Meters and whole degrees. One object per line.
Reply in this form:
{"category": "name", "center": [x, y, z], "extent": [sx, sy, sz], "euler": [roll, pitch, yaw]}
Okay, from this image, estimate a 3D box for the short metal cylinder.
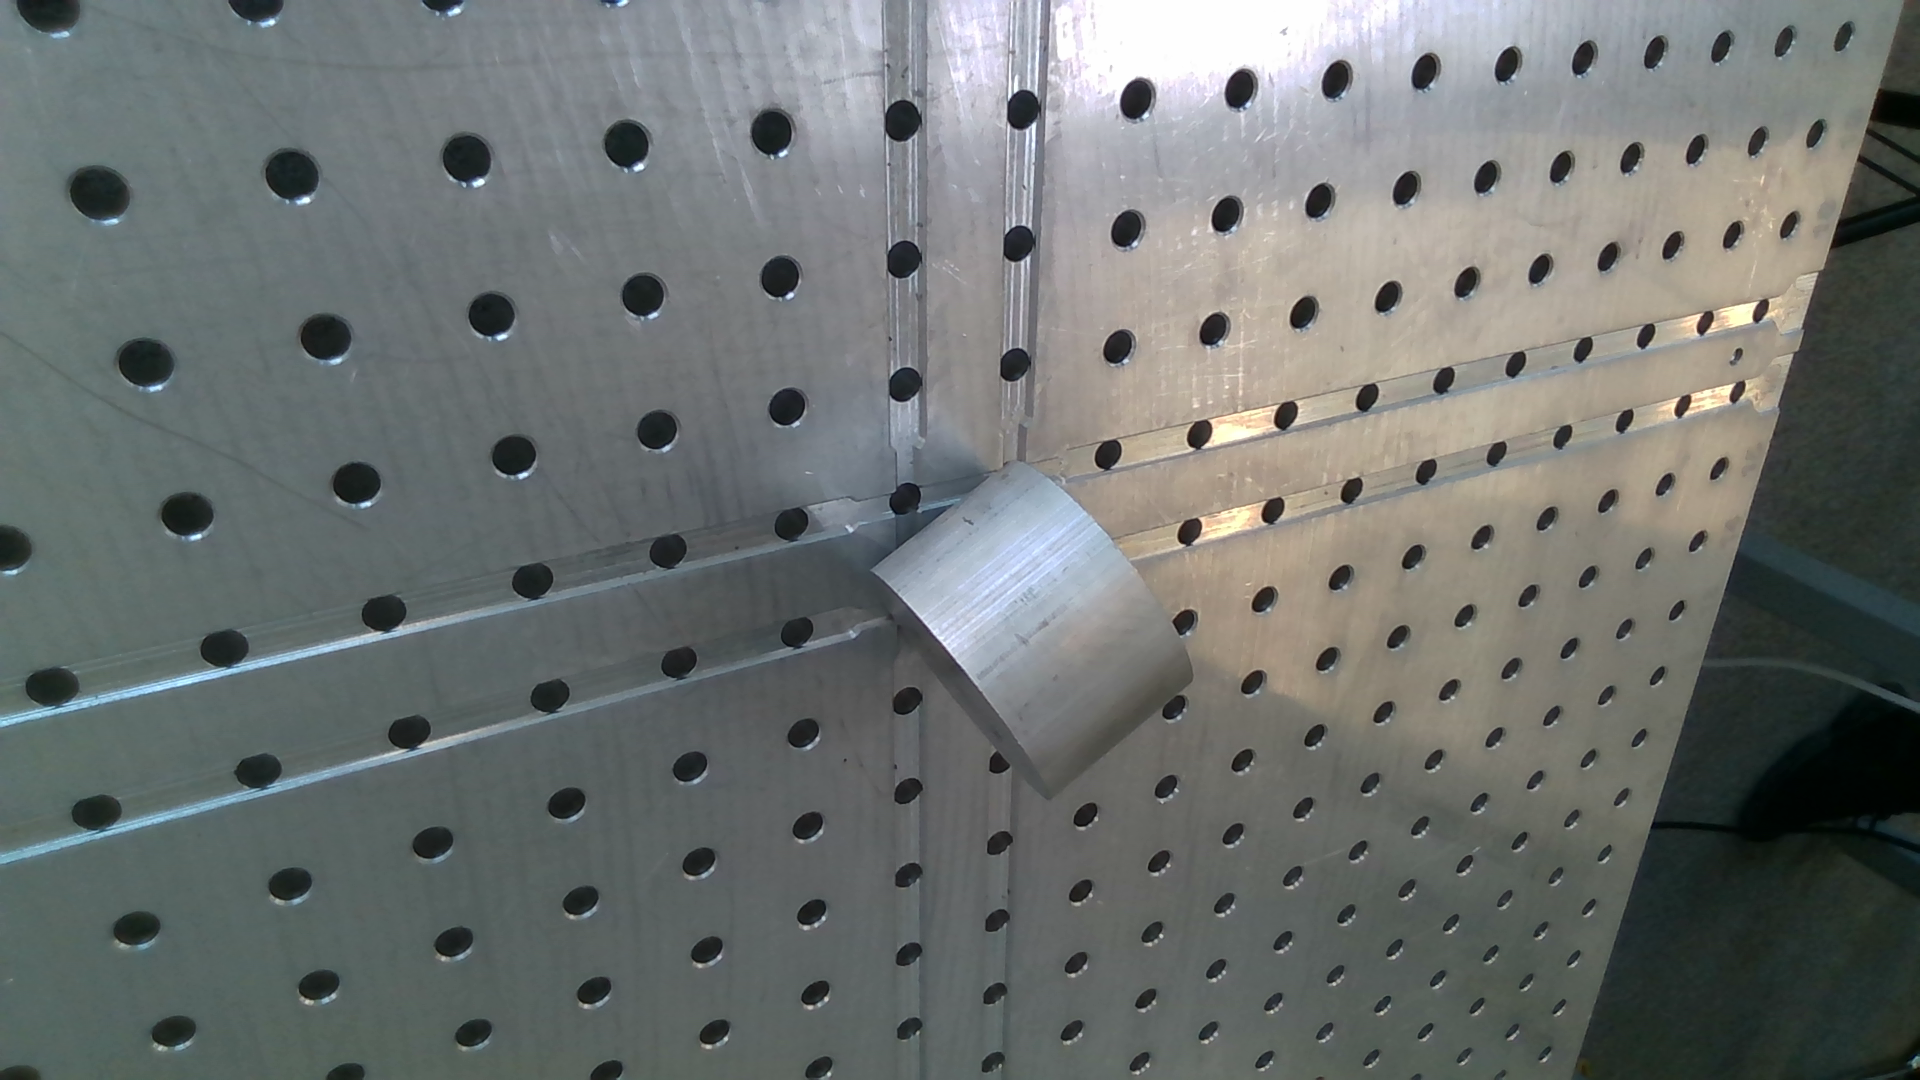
{"category": "short metal cylinder", "center": [0.019, 0.024, 0.381], "extent": [0.050, 0.080, 0.080], "euler": [-39, 129, -9]}
